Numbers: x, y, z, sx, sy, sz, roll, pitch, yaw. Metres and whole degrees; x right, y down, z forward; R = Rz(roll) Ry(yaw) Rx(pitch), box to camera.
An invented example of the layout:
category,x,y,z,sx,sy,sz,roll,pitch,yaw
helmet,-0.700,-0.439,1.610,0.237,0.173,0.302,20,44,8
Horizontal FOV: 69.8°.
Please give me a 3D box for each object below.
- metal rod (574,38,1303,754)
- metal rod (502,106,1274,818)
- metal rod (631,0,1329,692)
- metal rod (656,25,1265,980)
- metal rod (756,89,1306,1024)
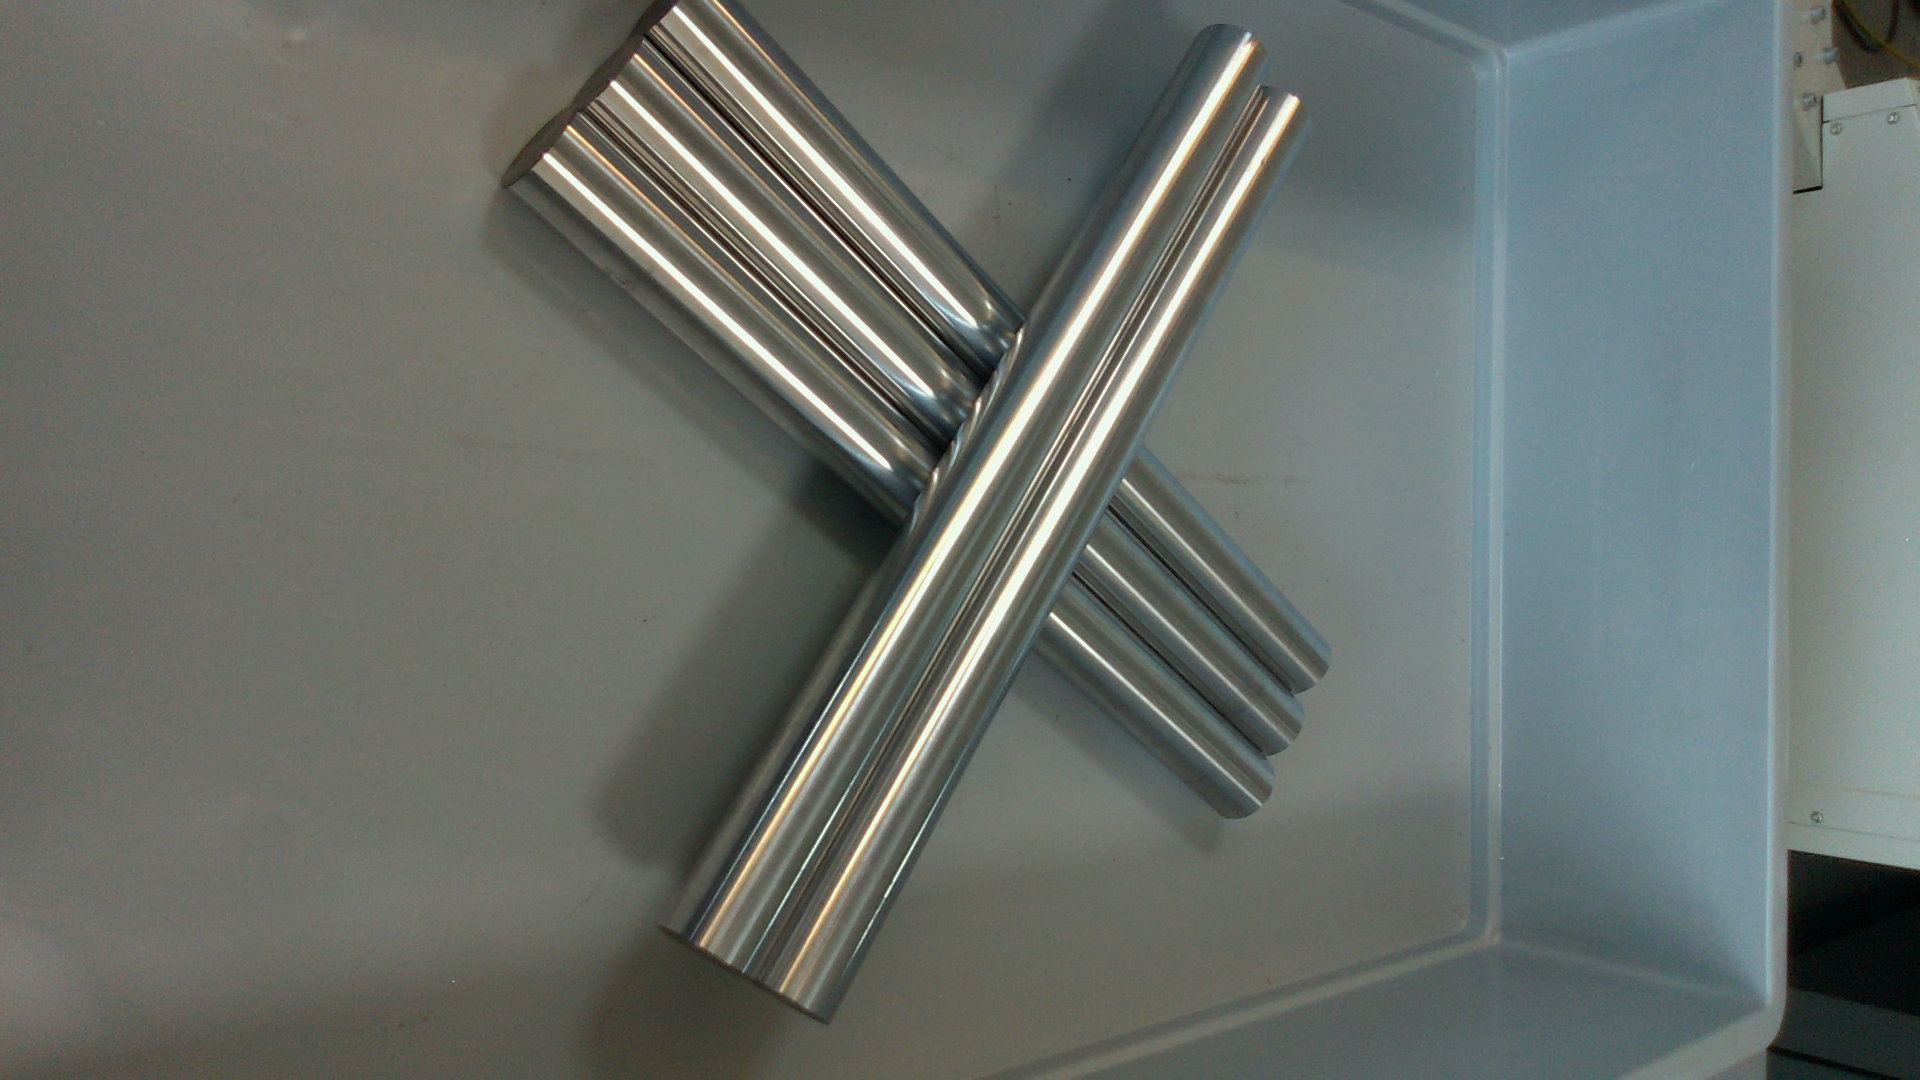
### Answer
category,x,y,z,sx,sy,sz,roll,pitch,yaw
metal rod,0.013,-0.022,0.398,0.301,0.025,0.025,42,65,-32
metal rod,0.001,-0.003,0.388,0.301,0.025,0.025,42,65,-32
metal rod,0.025,-0.042,0.408,0.301,0.025,0.025,42,65,-32
metal rod,0.012,-0.028,0.365,0.025,0.025,0.301,44,63,-31
metal rod,0.028,-0.013,0.379,0.025,0.025,0.301,44,63,-31
